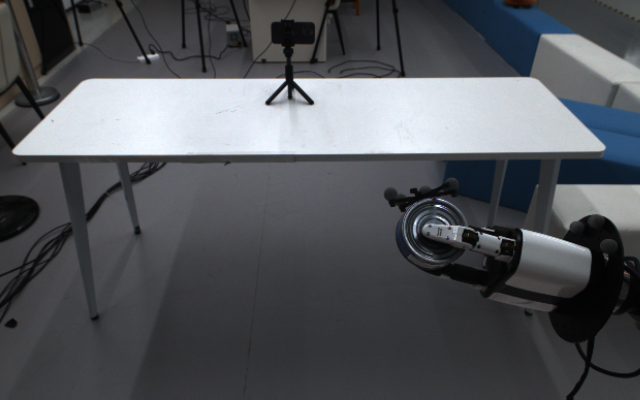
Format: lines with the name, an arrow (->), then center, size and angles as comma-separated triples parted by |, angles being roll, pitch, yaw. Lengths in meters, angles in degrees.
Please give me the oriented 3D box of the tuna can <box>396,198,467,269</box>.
tuna can -> 0.144, 0.046, 0.596 | 0.085, 0.034, 0.085 | 0, 72, -1
